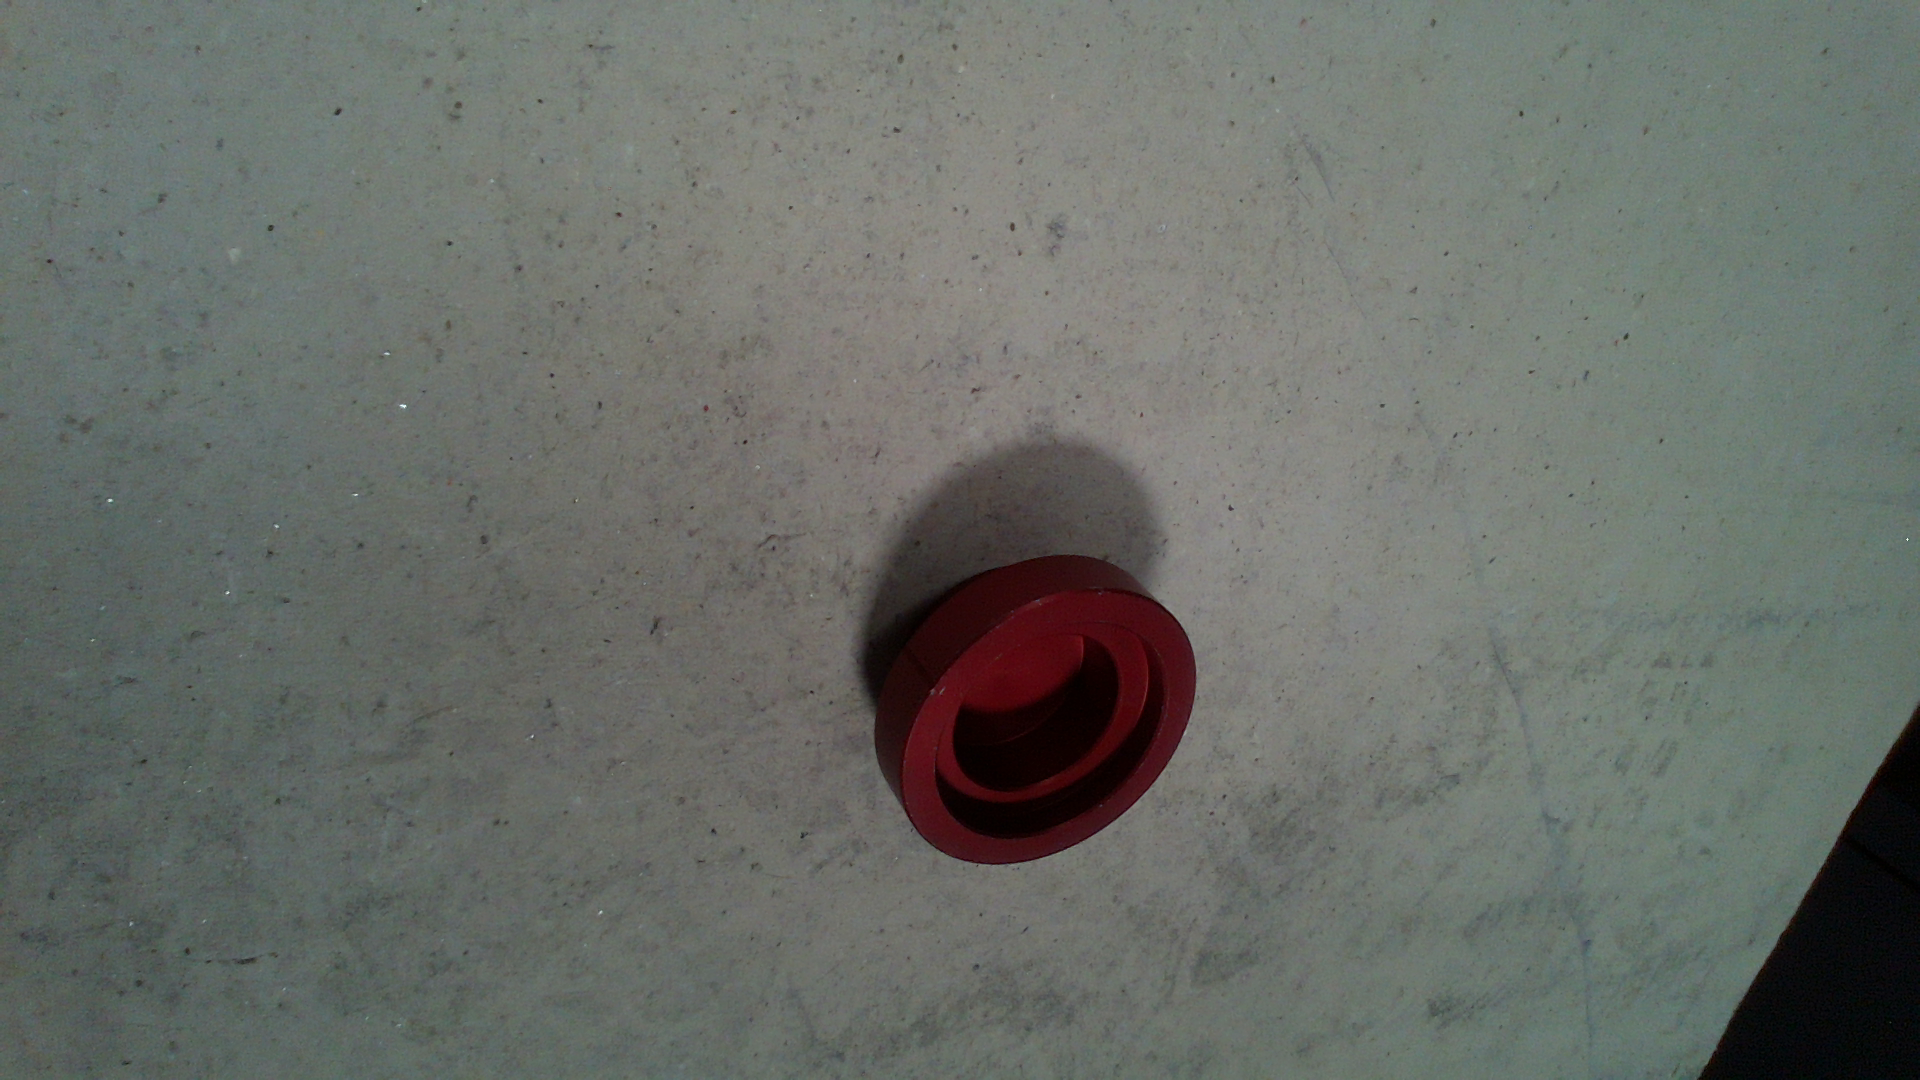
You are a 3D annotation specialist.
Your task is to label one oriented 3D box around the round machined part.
[{"bbox_3d":[0.019,0.047,0.417,0.098,0.042,0.098,-14,124,-21],"label":"round machined part"}]
